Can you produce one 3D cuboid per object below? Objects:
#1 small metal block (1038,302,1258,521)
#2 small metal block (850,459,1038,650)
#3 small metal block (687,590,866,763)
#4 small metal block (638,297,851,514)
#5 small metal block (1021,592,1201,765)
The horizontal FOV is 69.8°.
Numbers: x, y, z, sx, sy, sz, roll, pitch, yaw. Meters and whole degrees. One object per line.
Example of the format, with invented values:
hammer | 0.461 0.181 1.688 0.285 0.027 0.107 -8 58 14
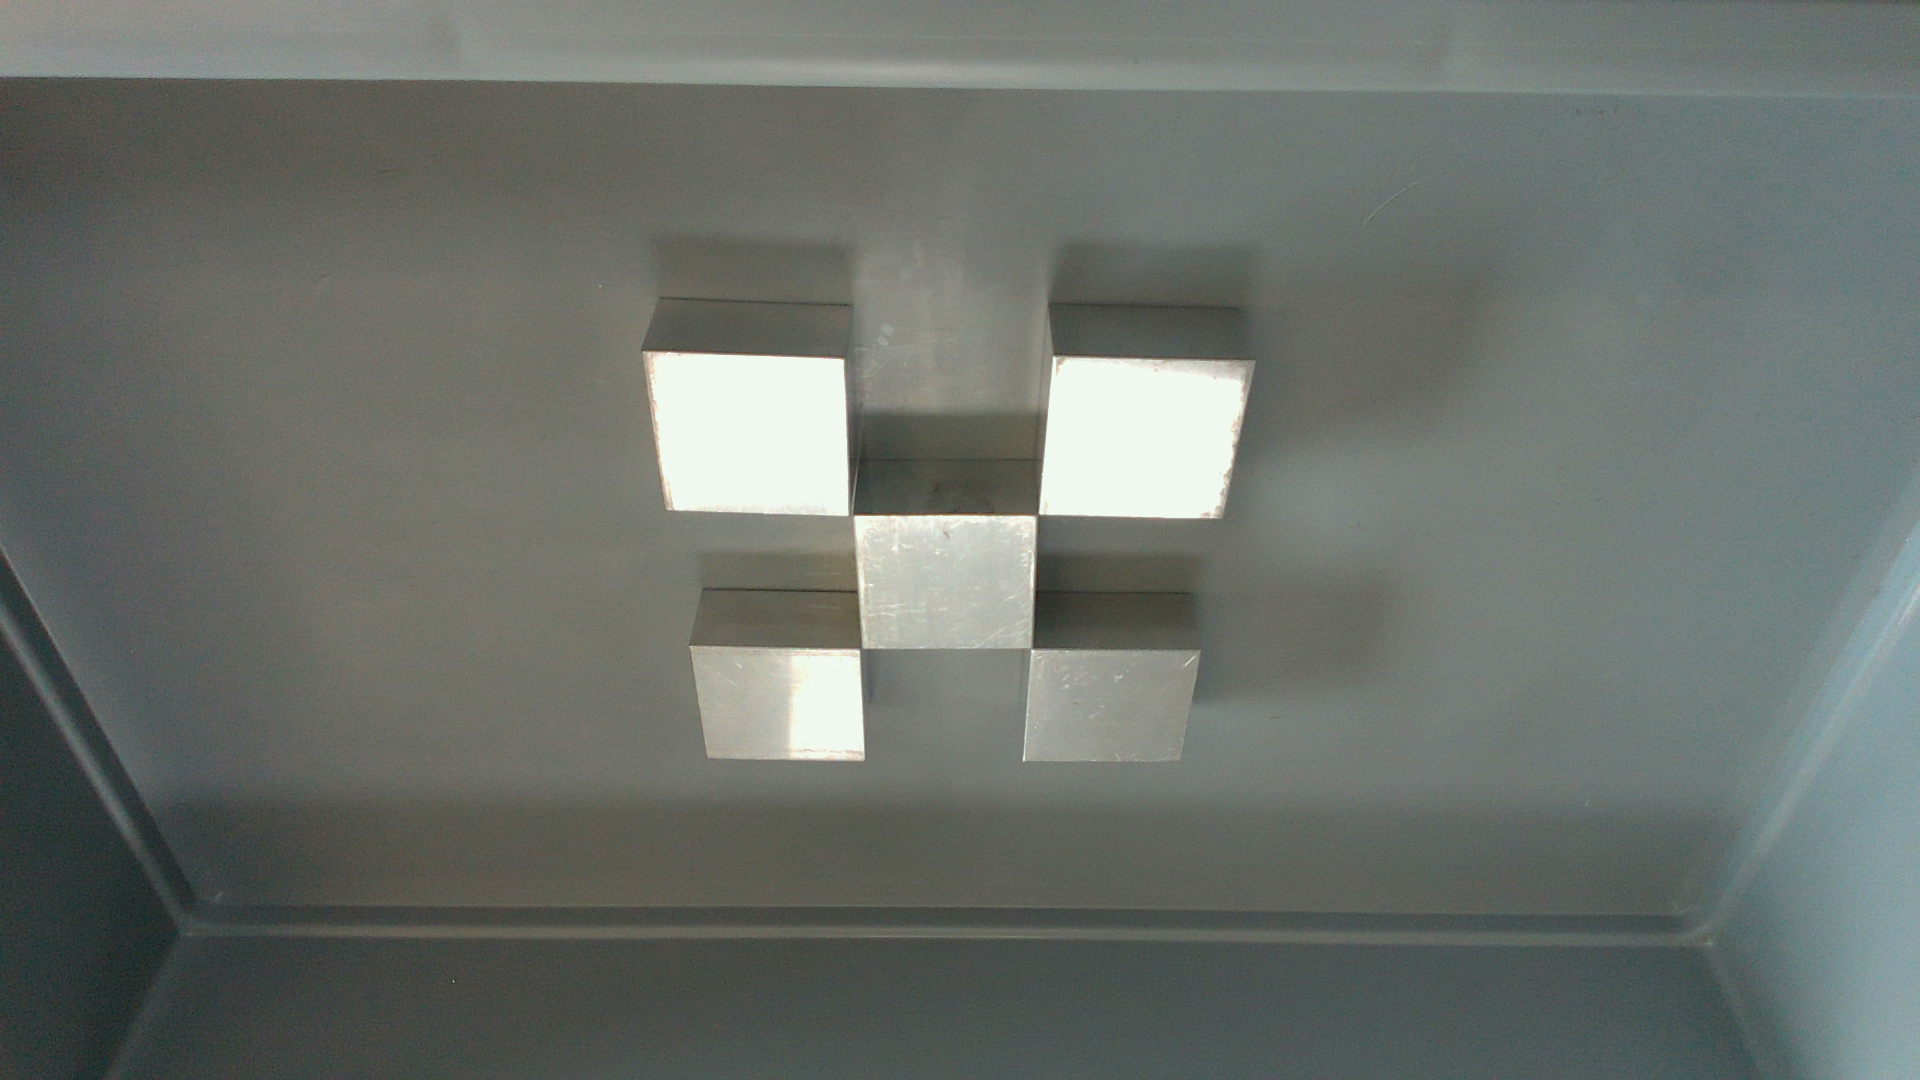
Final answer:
small metal block | 0.047 -0.033 0.360 0.050 0.025 0.050 2 130 -2
small metal block | -0.004 0.005 0.392 0.050 0.025 0.050 0 130 0
small metal block | -0.054 0.042 0.424 0.050 0.025 0.050 0 130 -1
small metal block | -0.054 -0.034 0.359 0.050 0.025 0.050 1 130 -1
small metal block | 0.045 0.043 0.425 0.050 0.025 0.050 1 130 -1
